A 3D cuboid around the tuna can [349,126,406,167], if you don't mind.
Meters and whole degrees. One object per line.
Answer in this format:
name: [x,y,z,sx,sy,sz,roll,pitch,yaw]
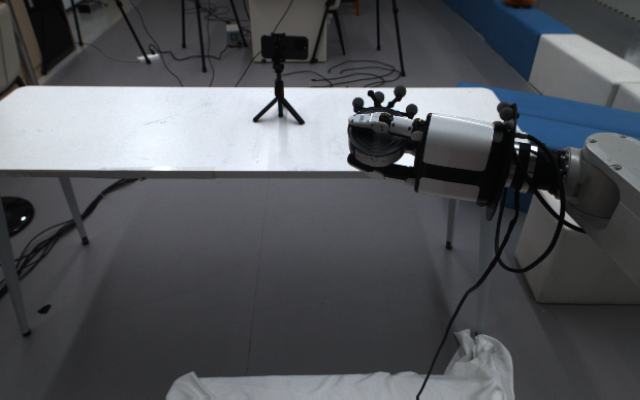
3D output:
tuna can: [0.082,-0.092,0.688,0.085,0.034,0.085,-2,58,3]
